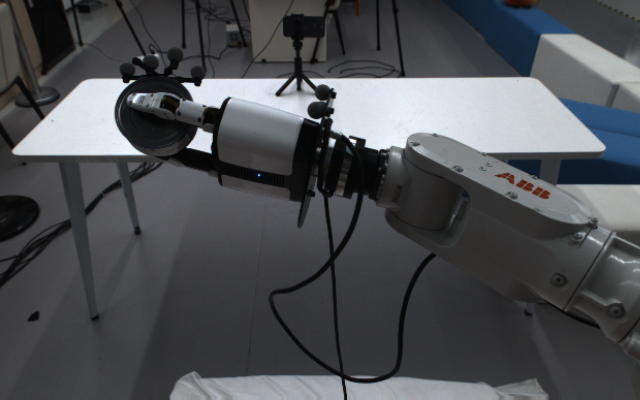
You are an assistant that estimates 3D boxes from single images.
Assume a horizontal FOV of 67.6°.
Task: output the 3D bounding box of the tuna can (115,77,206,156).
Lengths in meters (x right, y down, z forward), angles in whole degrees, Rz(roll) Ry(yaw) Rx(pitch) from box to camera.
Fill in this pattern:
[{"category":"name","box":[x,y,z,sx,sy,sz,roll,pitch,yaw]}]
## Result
[{"category":"tuna can","box":[-0.180,-0.092,0.545,0.085,0.034,0.085,1,73,-5]}]
